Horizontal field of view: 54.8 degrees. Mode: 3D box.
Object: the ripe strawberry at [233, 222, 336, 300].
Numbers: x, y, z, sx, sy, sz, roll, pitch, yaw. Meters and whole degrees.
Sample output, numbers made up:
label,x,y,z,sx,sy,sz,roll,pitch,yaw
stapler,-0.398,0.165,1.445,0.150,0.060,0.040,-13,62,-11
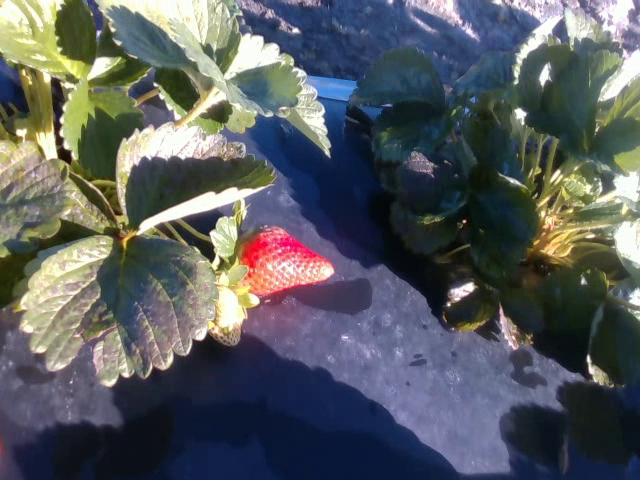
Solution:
label,x,y,z,sx,sy,sz,roll,pitch,yaw
ripe strawberry,-0.021,0.014,0.346,0.064,0.050,0.052,9,-3,-6
